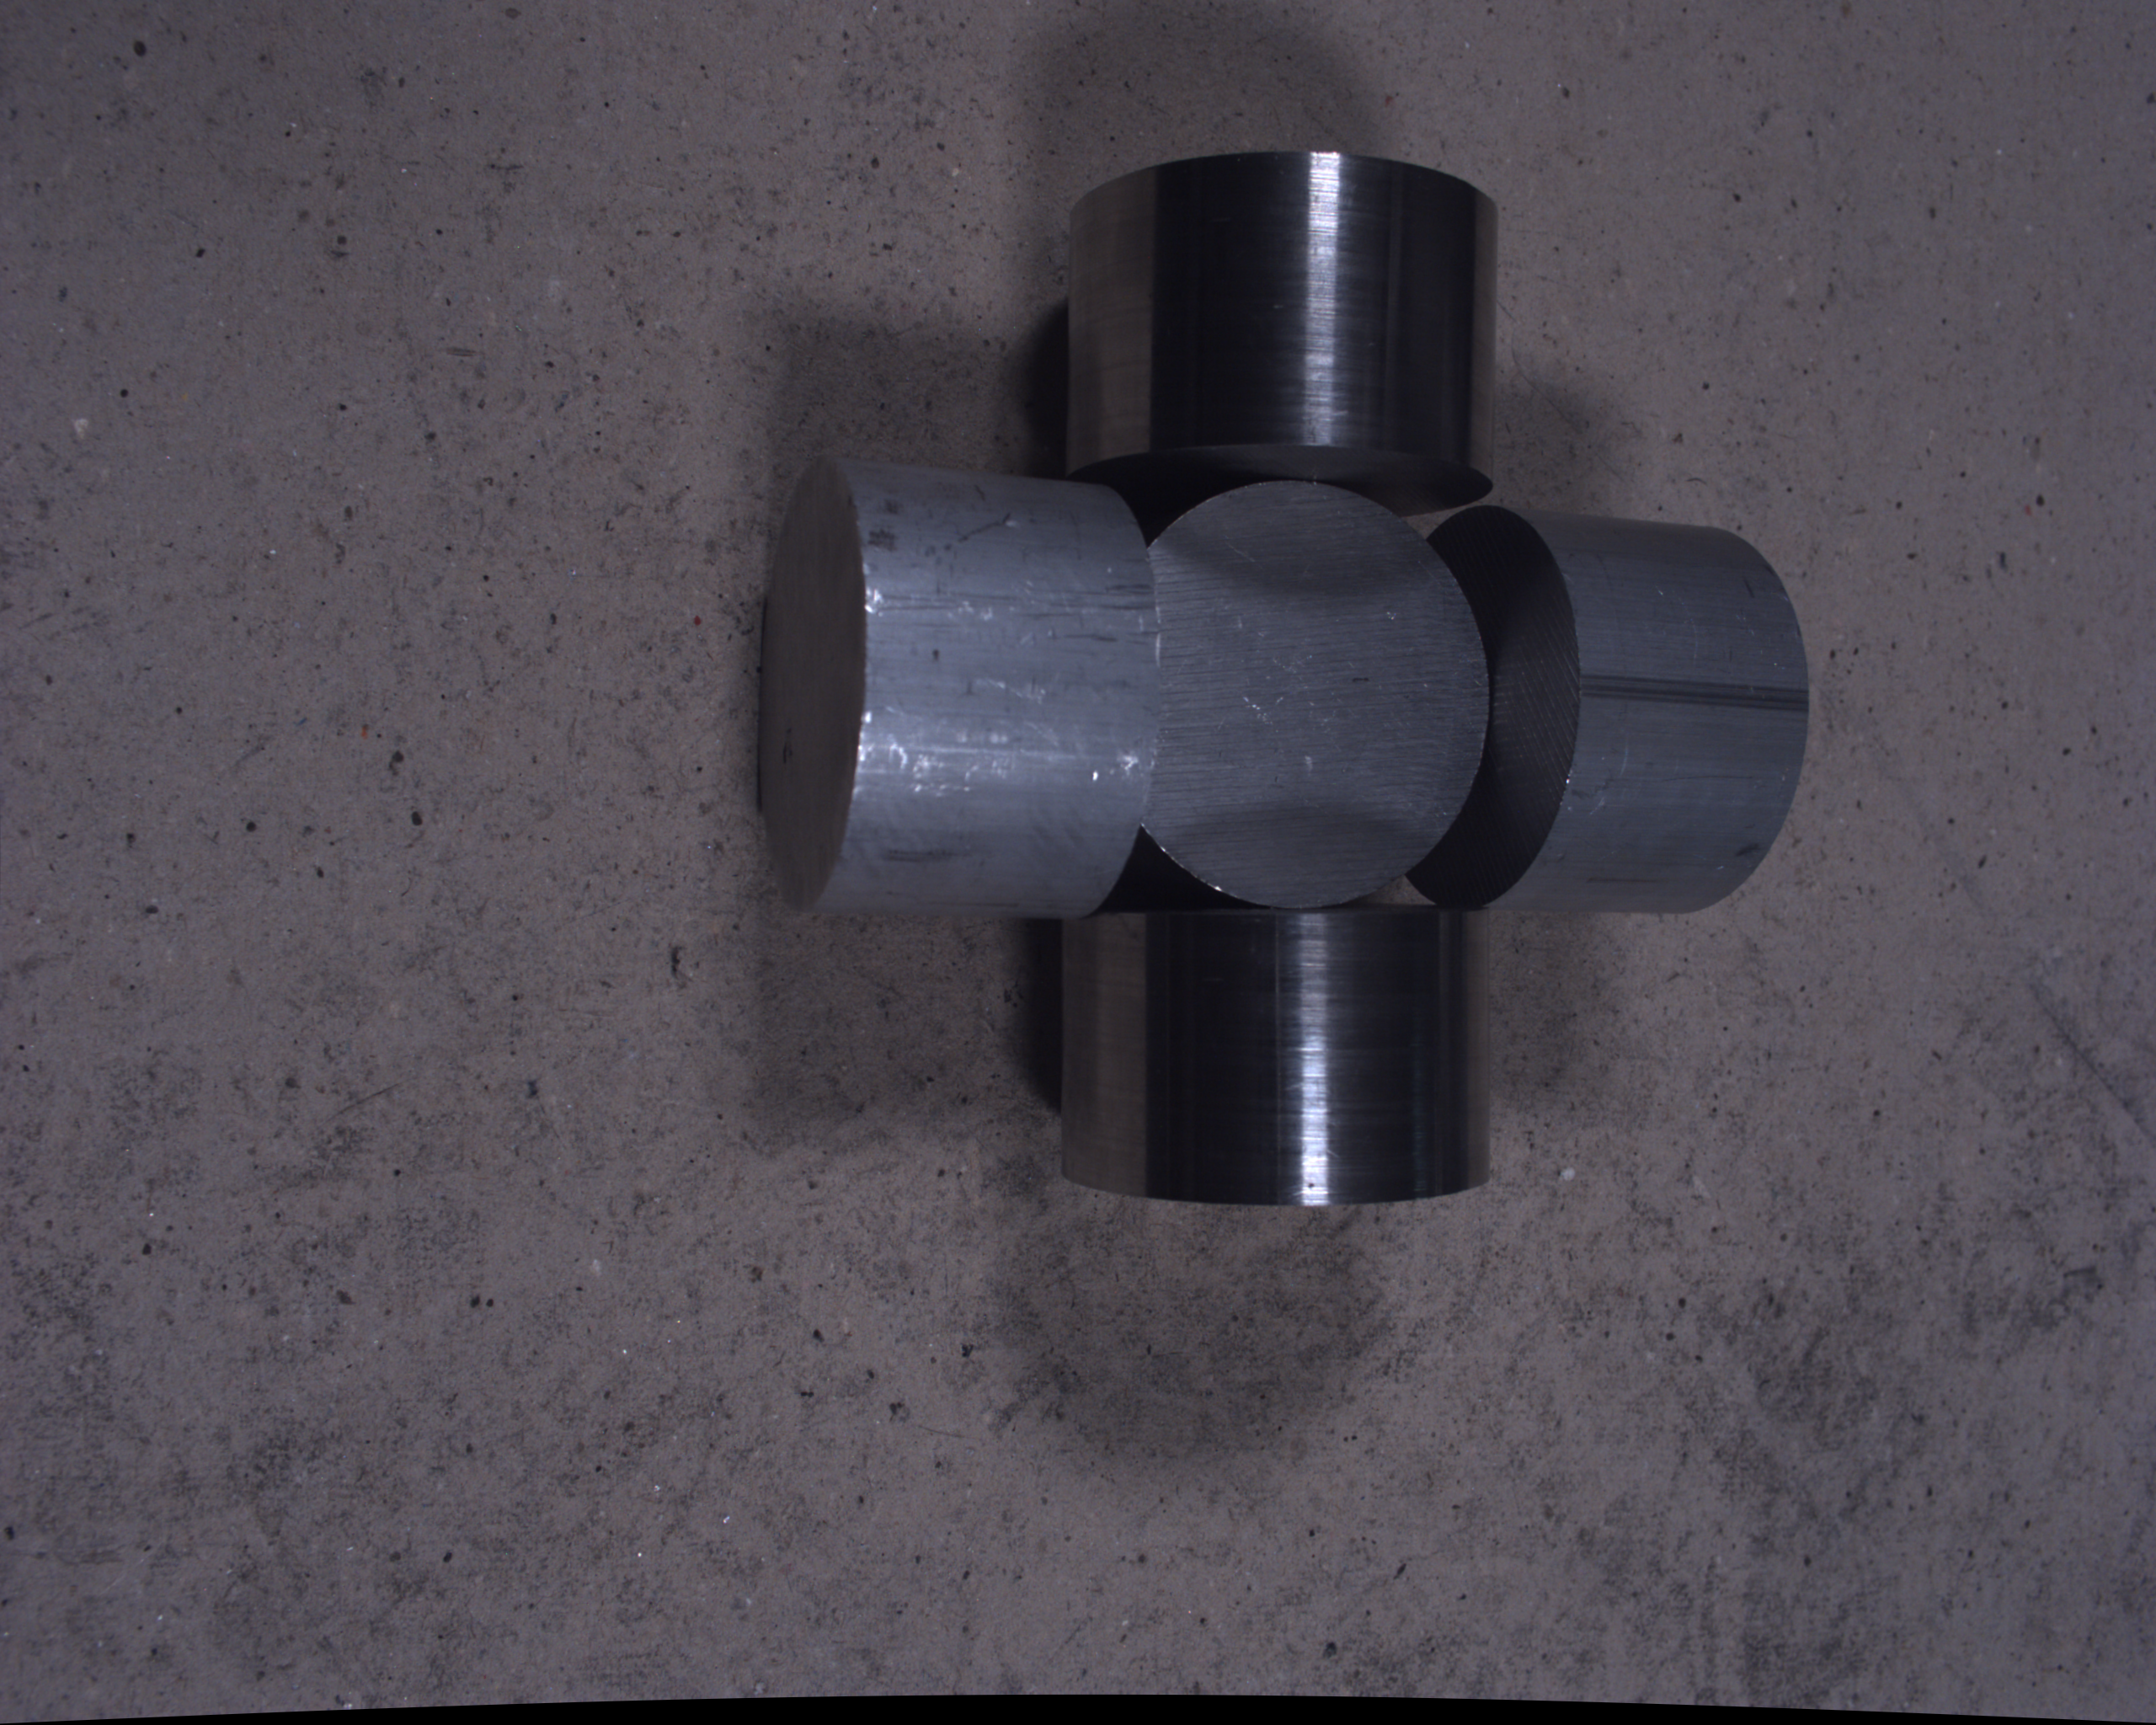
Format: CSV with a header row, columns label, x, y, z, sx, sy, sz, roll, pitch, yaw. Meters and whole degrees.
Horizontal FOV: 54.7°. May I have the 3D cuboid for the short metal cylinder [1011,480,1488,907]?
label,x,y,z,sx,sy,sz,roll,pitch,yaw
short metal cylinder,0.032,-0.031,0.410,0.081,0.050,0.079,0,90,-21

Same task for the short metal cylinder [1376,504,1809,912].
label,x,y,z,sx,sy,sz,roll,pitch,yaw
short metal cylinder,0.099,-0.030,0.419,0.050,0.080,0.079,2,90,-20

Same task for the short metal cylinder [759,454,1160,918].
label,x,y,z,sx,sy,sz,roll,pitch,yaw
short metal cylinder,-0.024,-0.030,0.373,0.050,0.080,0.079,2,90,-20

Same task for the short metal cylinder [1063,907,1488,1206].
label,x,y,z,sx,sy,sz,roll,pitch,yaw
short metal cylinder,0.037,0.034,0.396,0.081,0.080,0.050,0,90,-20

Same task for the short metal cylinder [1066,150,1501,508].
label,x,y,z,sx,sy,sz,roll,pitch,yaw
short metal cylinder,0.038,-0.097,0.395,0.081,0.080,0.050,2,90,-20
